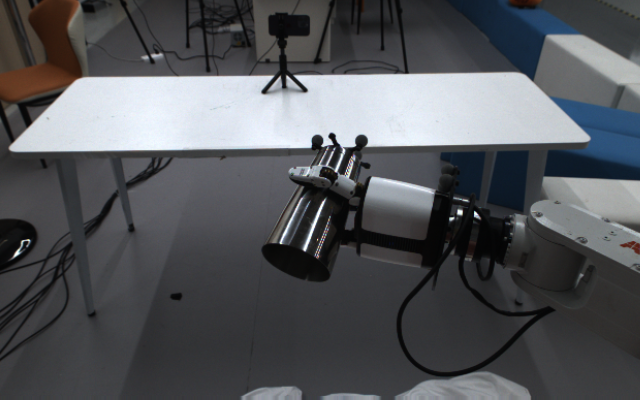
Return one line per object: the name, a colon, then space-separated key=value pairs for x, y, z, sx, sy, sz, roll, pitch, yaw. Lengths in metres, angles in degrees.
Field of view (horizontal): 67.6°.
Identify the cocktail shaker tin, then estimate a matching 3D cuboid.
cocktail shaker tin: x=-0.002 y=0.011 z=0.640 sx=0.093 sy=0.093 sz=0.170 roll=13 pitch=58 yaw=16
